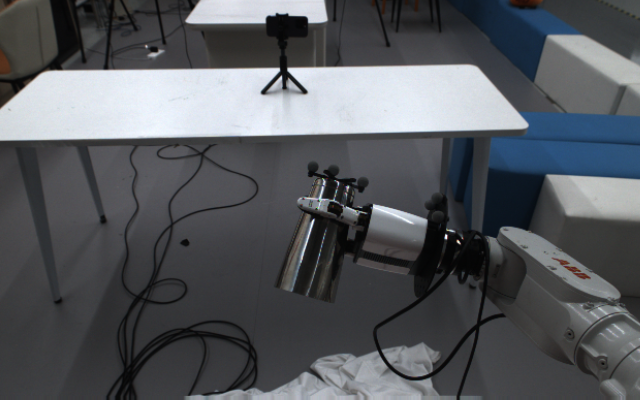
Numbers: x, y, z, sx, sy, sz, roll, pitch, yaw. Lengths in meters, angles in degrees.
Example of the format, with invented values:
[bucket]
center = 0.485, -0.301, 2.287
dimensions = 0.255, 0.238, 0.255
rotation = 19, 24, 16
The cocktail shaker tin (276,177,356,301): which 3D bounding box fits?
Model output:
[cocktail shaker tin]
center = 0.002, 0.056, 0.720
dimensions = 0.093, 0.093, 0.170
rotation = 13, 79, 15
